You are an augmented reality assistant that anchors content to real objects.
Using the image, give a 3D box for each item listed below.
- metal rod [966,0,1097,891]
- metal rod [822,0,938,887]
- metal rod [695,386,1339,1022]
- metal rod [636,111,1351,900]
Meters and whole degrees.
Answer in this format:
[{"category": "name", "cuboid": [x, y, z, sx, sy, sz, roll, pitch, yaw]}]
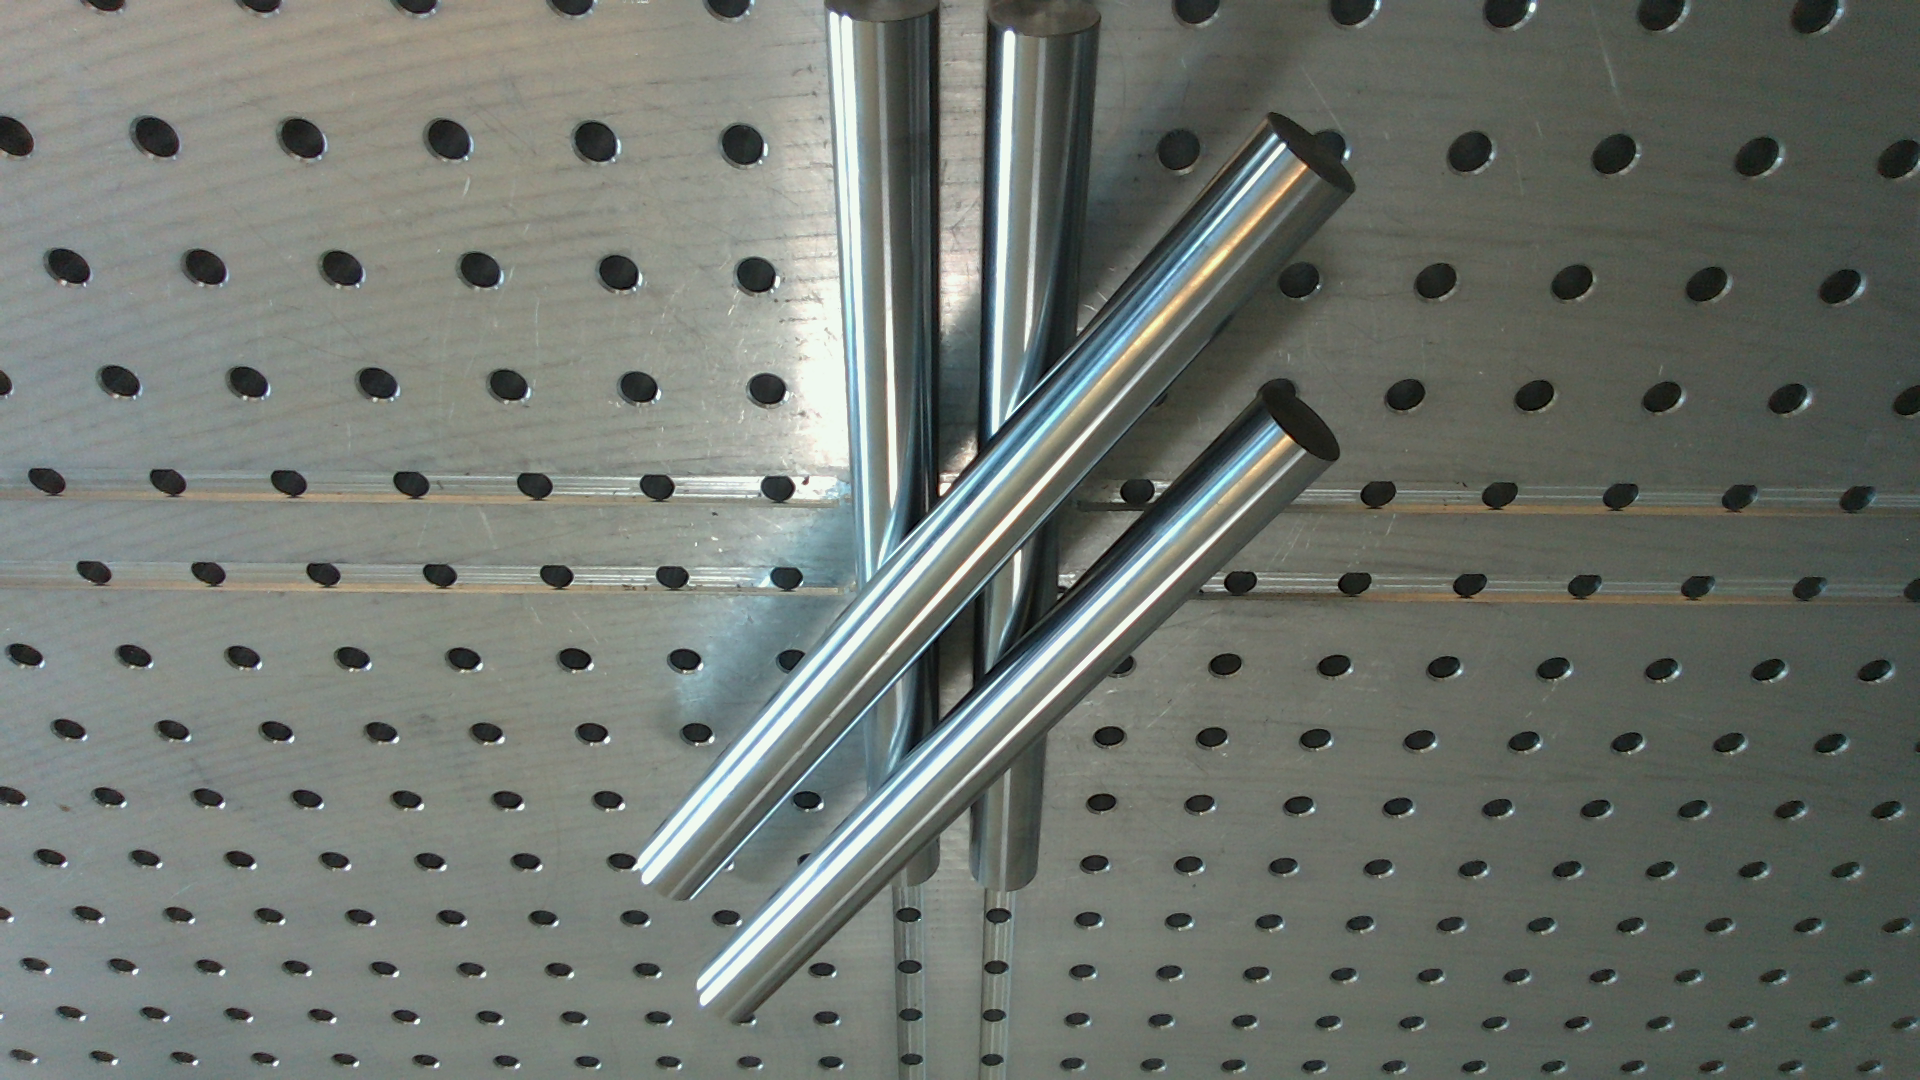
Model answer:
[{"category": "metal rod", "cuboid": [0.016, 0.000, 0.395, 0.025, 0.025, 0.300, 0, 130, 0]}, {"category": "metal rod", "cuboid": [-0.019, -0.002, 0.393, 0.025, 0.025, 0.300, 0, 130, 0]}, {"category": "metal rod", "cuboid": [0.000, 0.067, 0.417, 0.025, 0.025, 0.299, 27, 125, -21]}, {"category": "metal rod", "cuboid": [-0.010, 0.012, 0.372, 0.025, 0.025, 0.299, 27, 125, -21]}]
